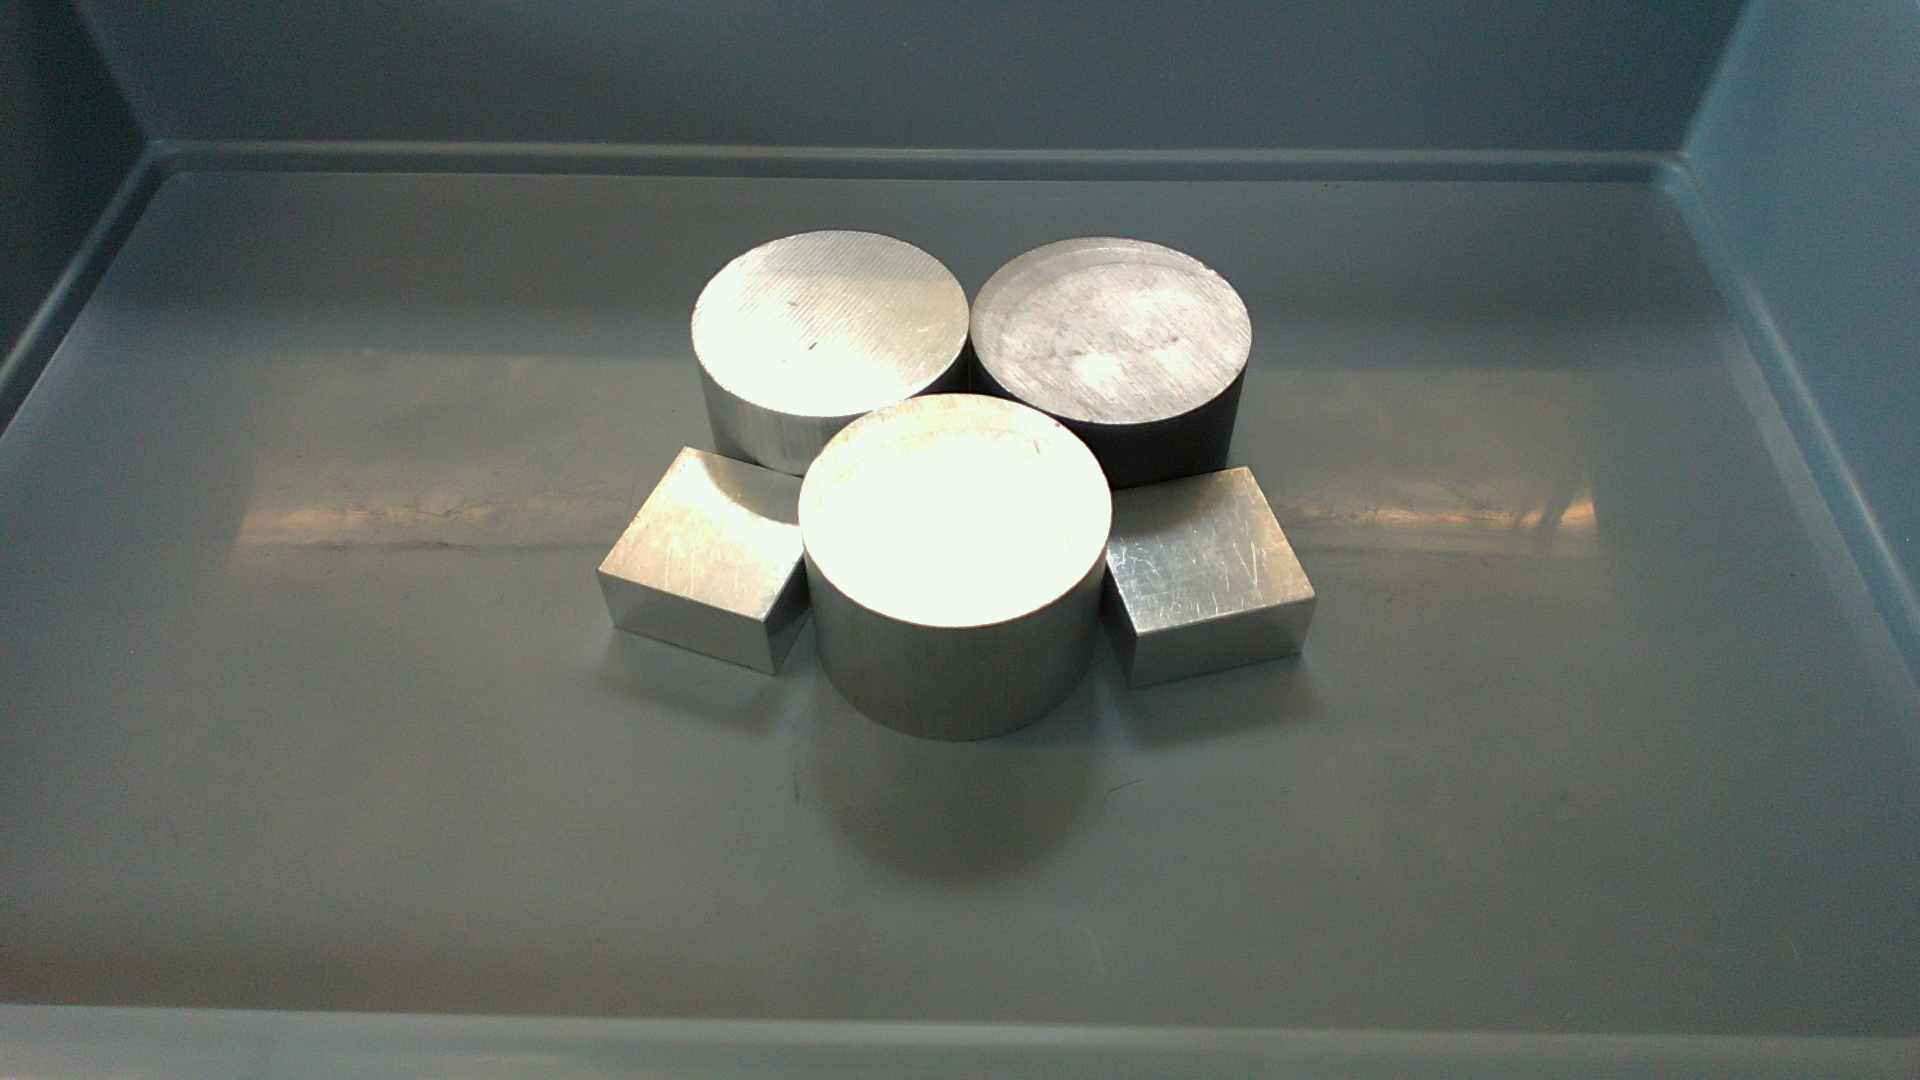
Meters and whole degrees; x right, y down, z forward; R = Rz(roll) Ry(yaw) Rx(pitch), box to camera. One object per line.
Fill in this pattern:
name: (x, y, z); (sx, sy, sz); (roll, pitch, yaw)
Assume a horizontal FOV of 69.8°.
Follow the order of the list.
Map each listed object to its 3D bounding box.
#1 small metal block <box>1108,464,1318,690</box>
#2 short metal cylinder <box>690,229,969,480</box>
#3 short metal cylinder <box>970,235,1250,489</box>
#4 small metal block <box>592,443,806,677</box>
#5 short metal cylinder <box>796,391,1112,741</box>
small metal block: (0.064, 0.009, 0.383); (0.050, 0.025, 0.050); (-11, 51, -9)
short metal cylinder: (-0.037, -0.048, 0.415); (0.080, 0.050, 0.080); (0, 50, 0)
short metal cylinder: (0.043, -0.046, 0.413); (0.080, 0.050, 0.080); (0, 50, 0)
small metal block: (-0.066, 0.005, 0.386); (0.050, 0.025, 0.050); (16, 52, 13)
short metal cylinder: (-0.001, 0.006, 0.369); (0.080, 0.050, 0.080); (0, 50, 0)
